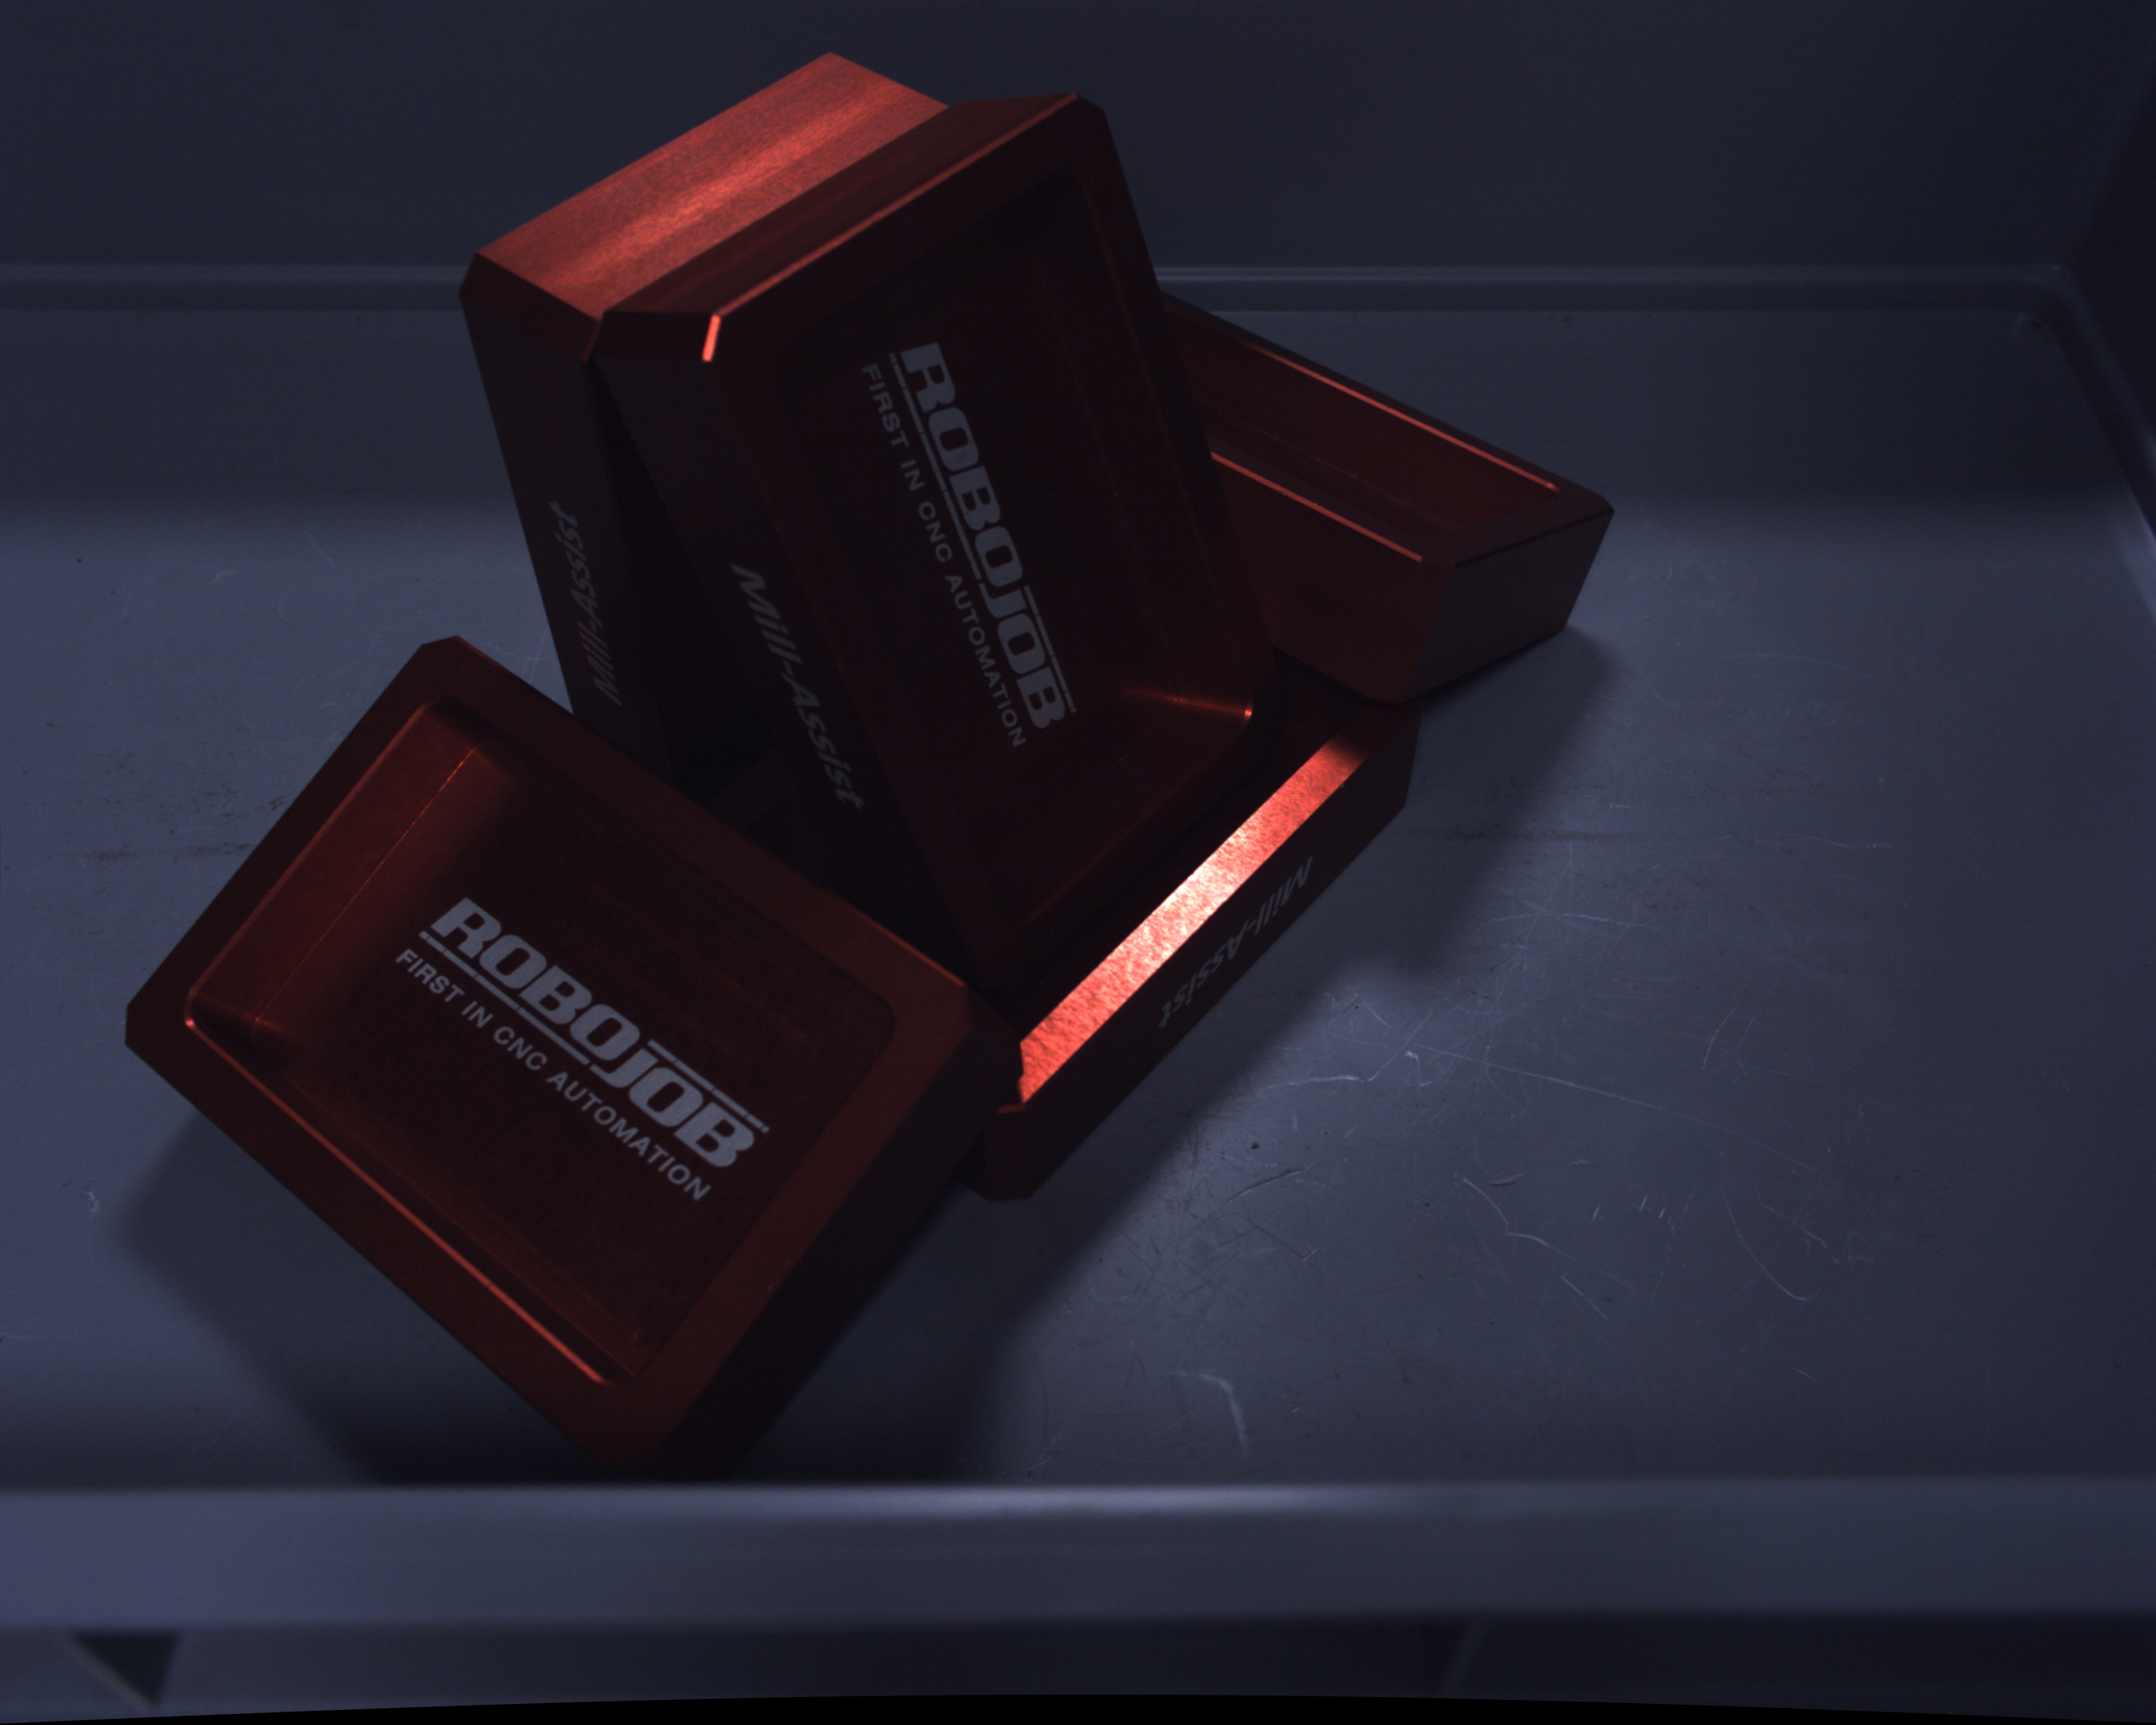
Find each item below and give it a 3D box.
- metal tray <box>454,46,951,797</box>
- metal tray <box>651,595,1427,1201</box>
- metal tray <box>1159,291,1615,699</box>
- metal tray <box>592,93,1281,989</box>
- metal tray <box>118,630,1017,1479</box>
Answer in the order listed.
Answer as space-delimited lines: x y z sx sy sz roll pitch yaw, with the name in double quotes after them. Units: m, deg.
-0.059 -0.073 0.394 0.030 0.129 0.090 32 57 25 "metal tray"
-0.005 -0.007 0.405 0.090 0.030 0.131 32 57 23 "metal tray"
0.038 -0.085 0.449 0.130 0.030 0.091 32 31 23 "metal tray"
-0.017 -0.054 0.364 0.030 0.129 0.090 15 47 43 "metal tray"
-0.088 0.029 0.352 0.130 0.030 0.090 33 81 24 "metal tray"
